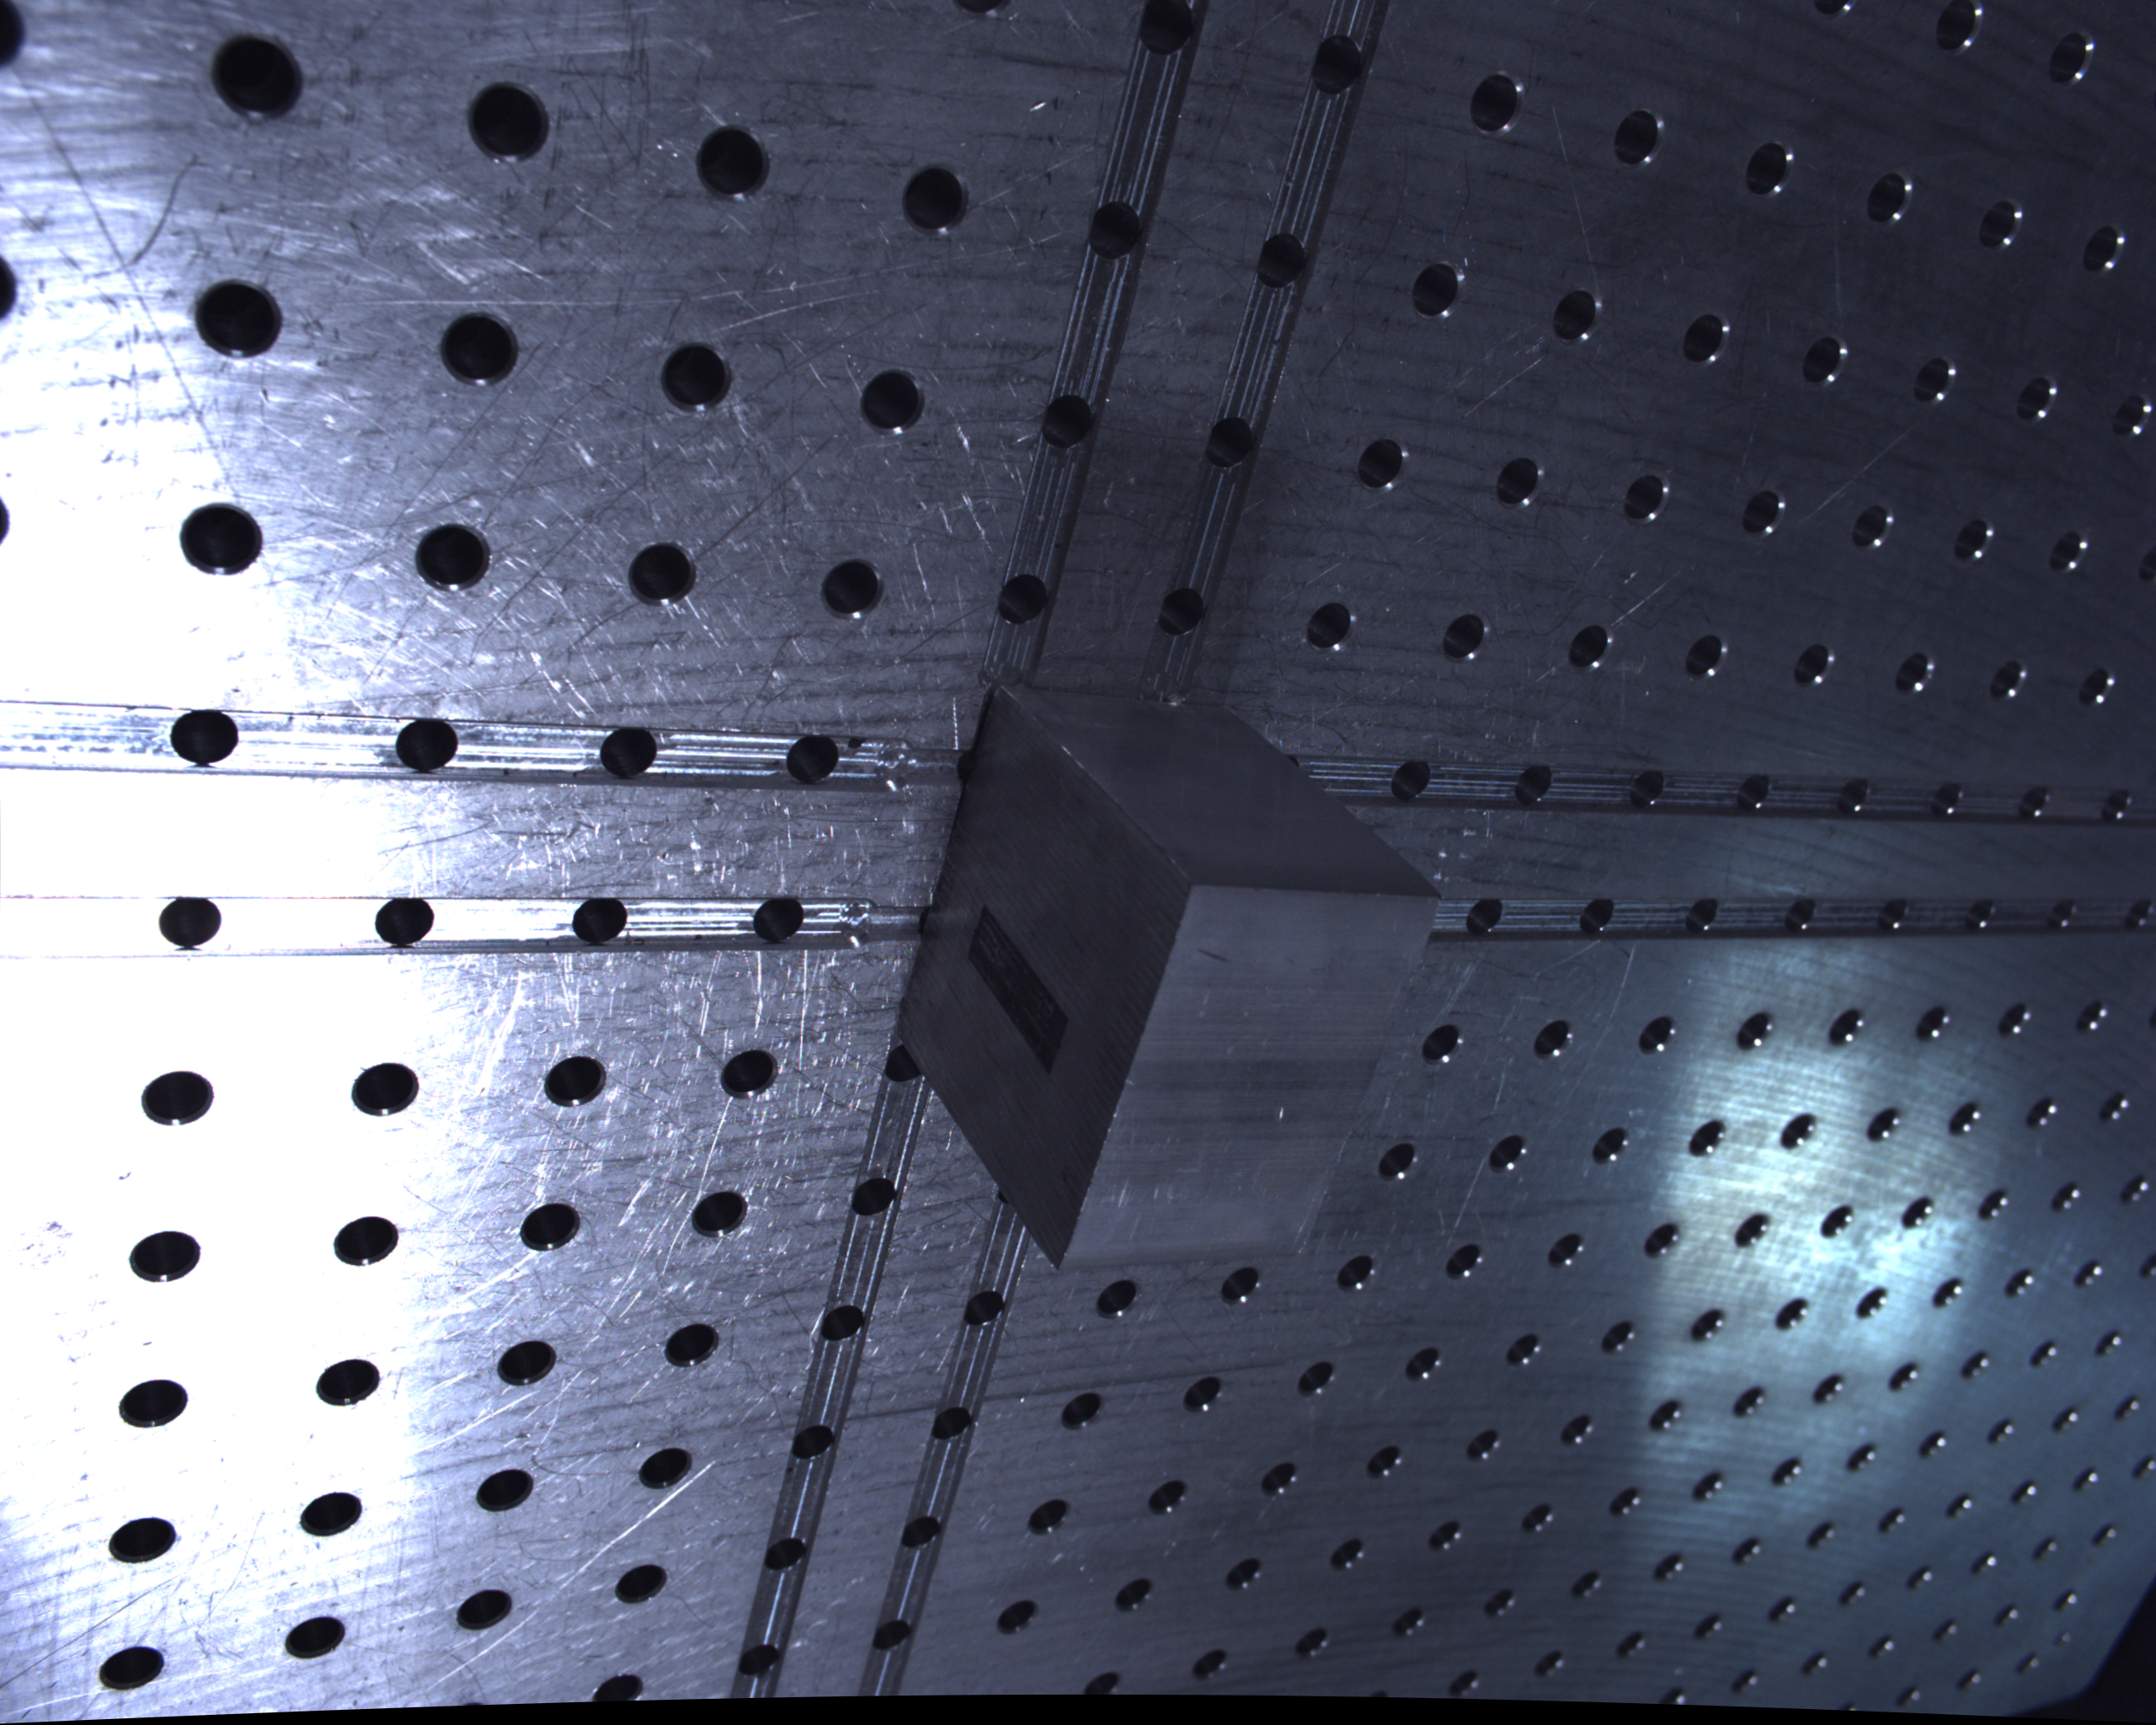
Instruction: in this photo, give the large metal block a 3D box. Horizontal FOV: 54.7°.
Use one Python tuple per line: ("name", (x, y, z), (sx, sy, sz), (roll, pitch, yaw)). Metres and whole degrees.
("large metal block", (0.013, 0.021, 0.396), (0.050, 0.080, 0.079), (3, 117, -30))
